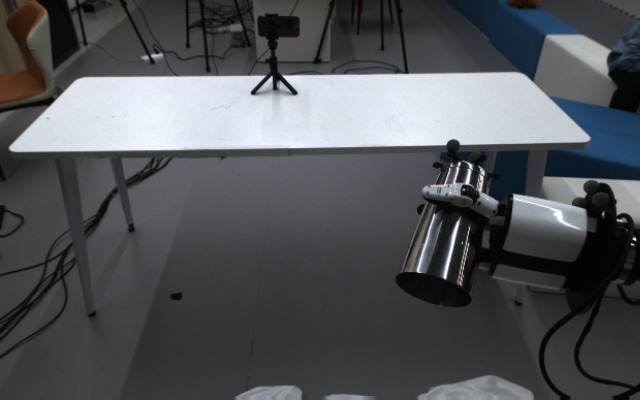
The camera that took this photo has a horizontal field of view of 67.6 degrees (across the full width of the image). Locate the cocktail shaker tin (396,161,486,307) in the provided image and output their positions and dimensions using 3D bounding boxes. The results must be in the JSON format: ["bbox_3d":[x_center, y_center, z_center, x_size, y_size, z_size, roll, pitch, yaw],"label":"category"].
[{"bbox_3d":[0.163,0.036,0.607,0.093,0.093,0.170,15,62,18],"label":"cocktail shaker tin"}]
